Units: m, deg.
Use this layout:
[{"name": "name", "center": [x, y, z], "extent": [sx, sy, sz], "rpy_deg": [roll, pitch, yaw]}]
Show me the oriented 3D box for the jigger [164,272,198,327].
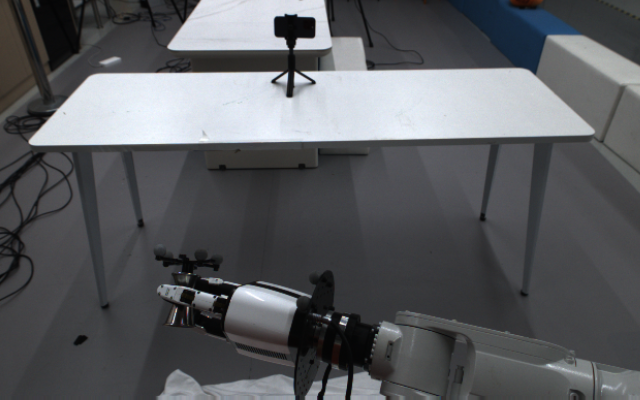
[{"name": "jigger", "center": [-0.183, 0.133, 0.644], "extent": [0.043, 0.043, 0.071], "rpy_deg": [3, 73, 1]}]
